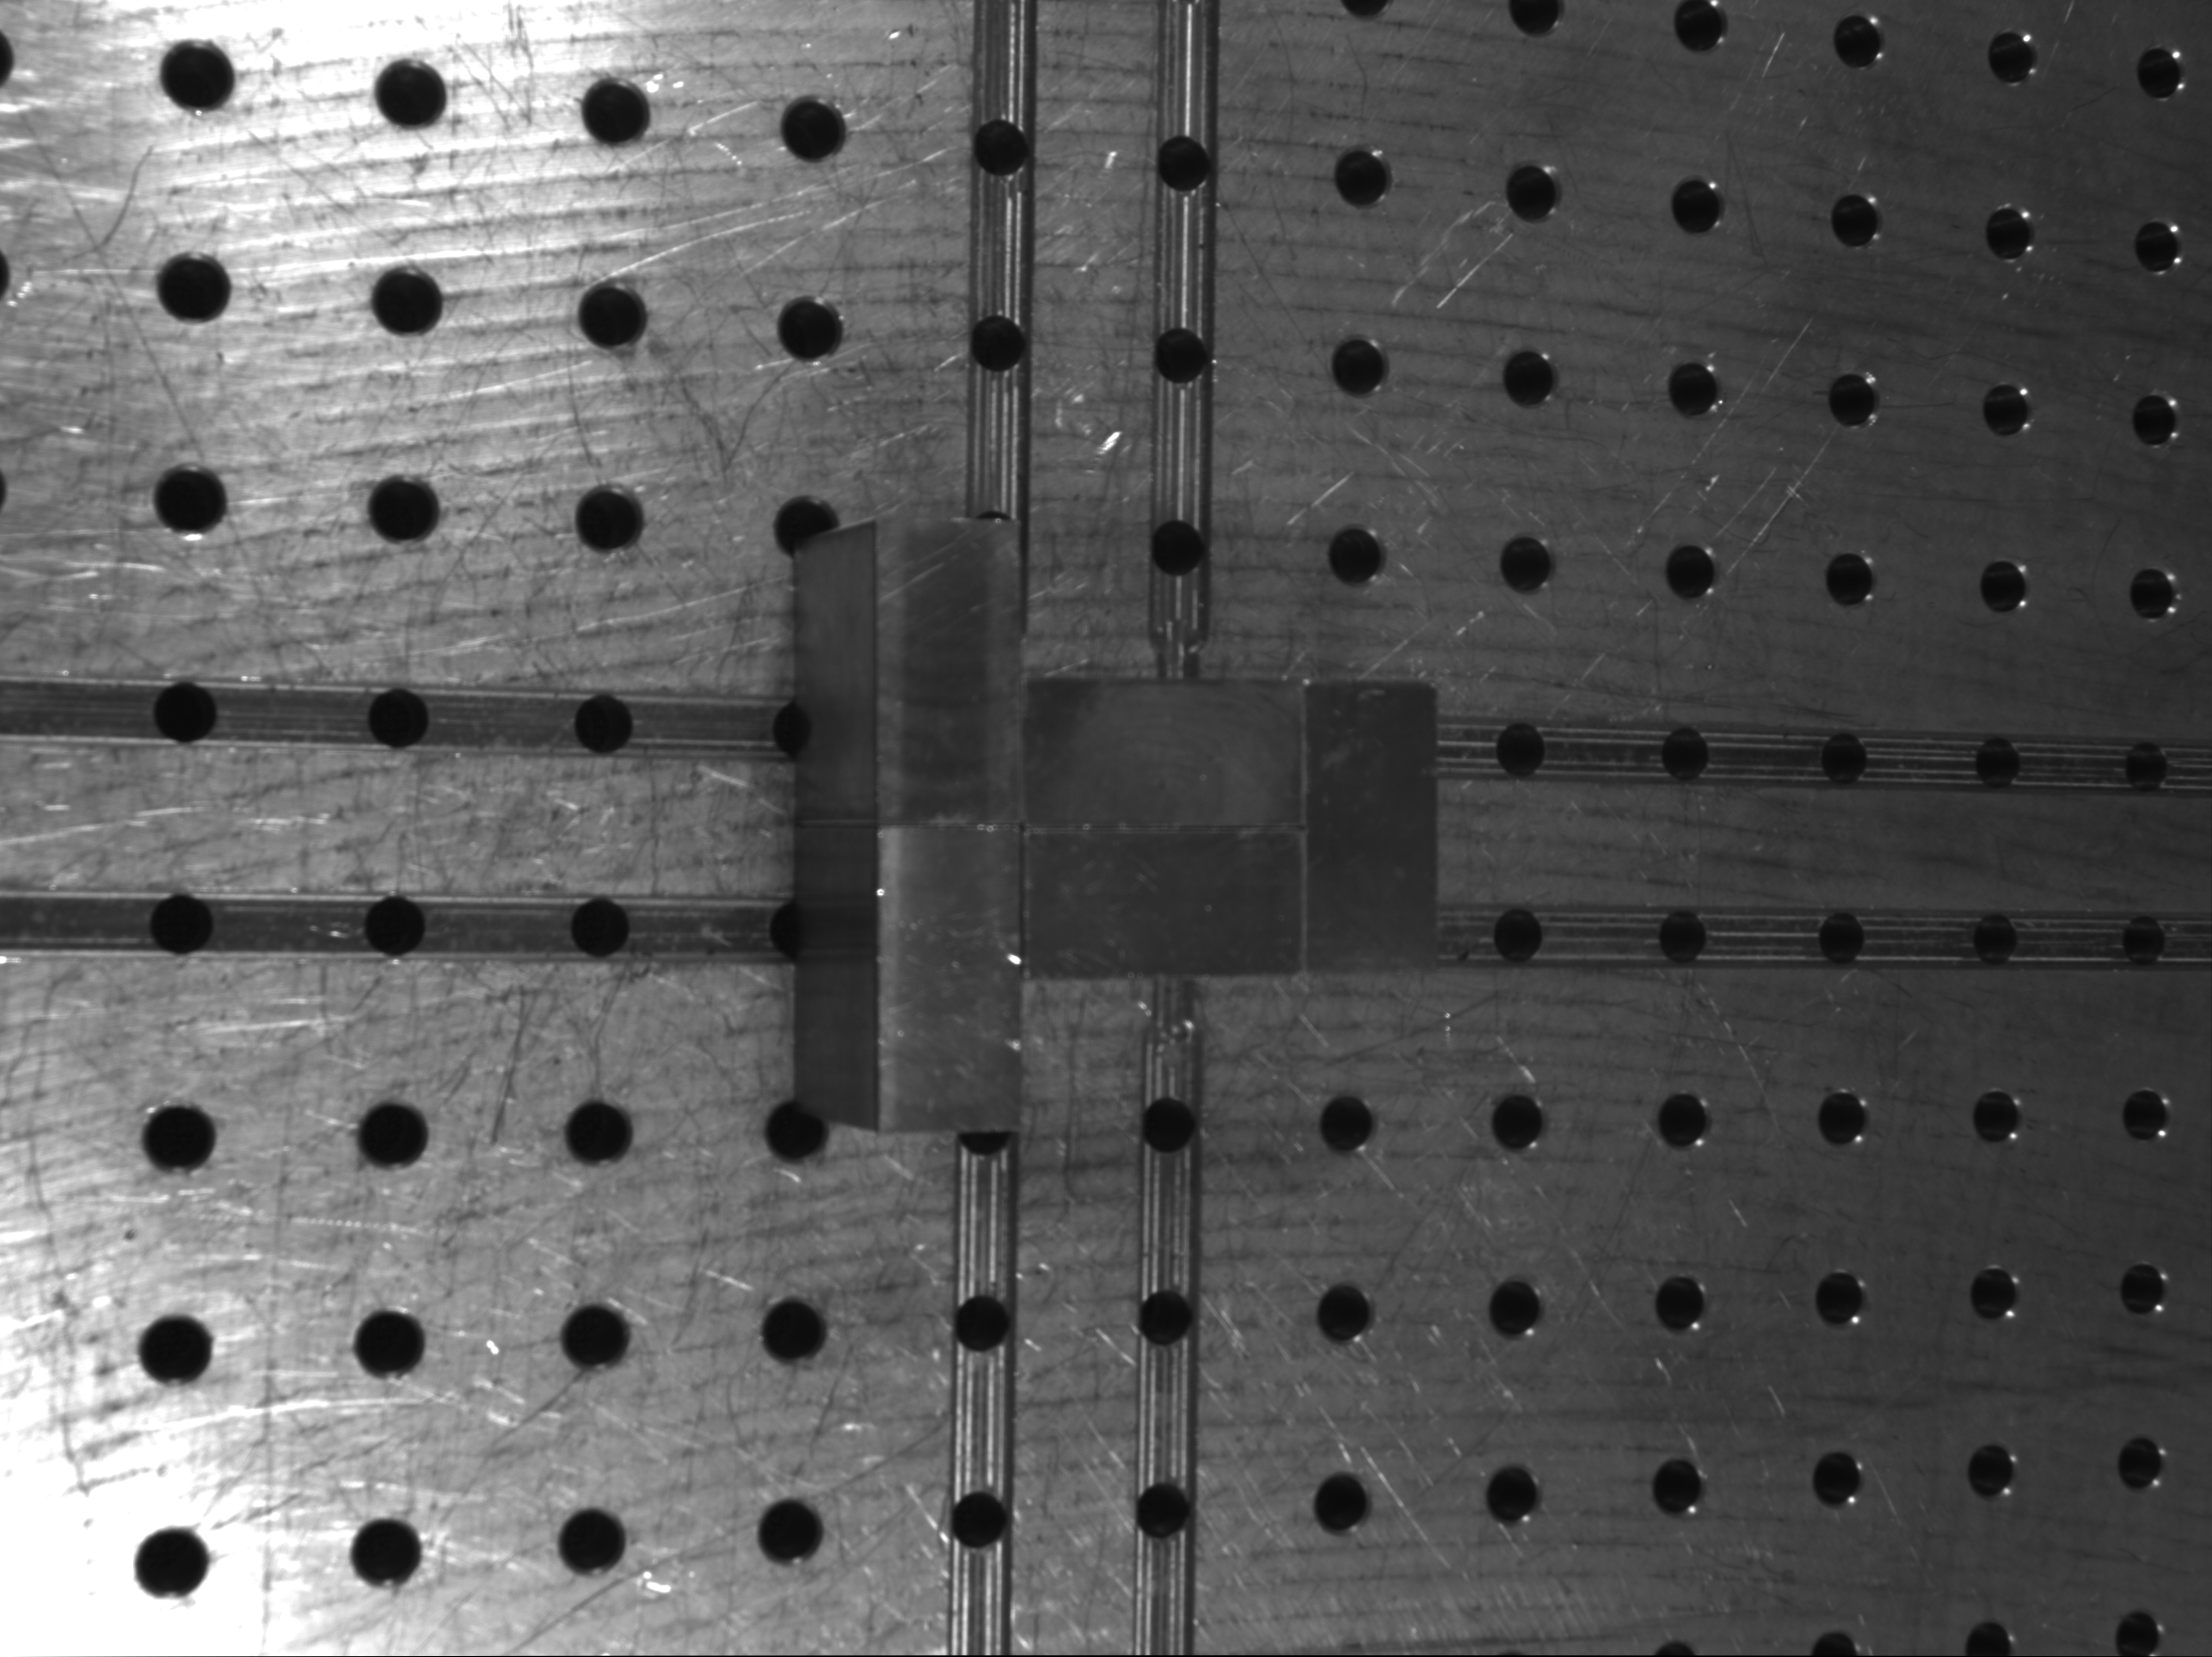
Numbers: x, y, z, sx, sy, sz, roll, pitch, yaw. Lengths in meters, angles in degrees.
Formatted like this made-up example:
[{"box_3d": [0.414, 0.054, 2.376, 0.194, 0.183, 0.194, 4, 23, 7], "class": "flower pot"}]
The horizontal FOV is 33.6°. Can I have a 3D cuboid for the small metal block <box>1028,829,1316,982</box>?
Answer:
[{"box_3d": [0.003, 0.013, 0.633, 0.050, 0.050, 0.025, 0, 90, -20], "class": "small metal block"}]

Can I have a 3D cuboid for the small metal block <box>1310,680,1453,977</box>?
[{"box_3d": [0.039, 0.000, 0.646, 0.025, 0.050, 0.050, 0, 90, -20], "class": "small metal block"}]

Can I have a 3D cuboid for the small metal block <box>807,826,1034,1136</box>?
[{"box_3d": [-0.032, 0.025, 0.620, 0.025, 0.050, 0.050, 0, 90, -20], "class": "small metal block"}]

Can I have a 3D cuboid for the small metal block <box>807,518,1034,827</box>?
[{"box_3d": [-0.032, -0.025, 0.620, 0.025, 0.050, 0.050, 0, 90, -20], "class": "small metal block"}]

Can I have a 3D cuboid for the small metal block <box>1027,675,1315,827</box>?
[{"box_3d": [0.003, -0.013, 0.633, 0.050, 0.050, 0.025, 0, 90, -20], "class": "small metal block"}]
